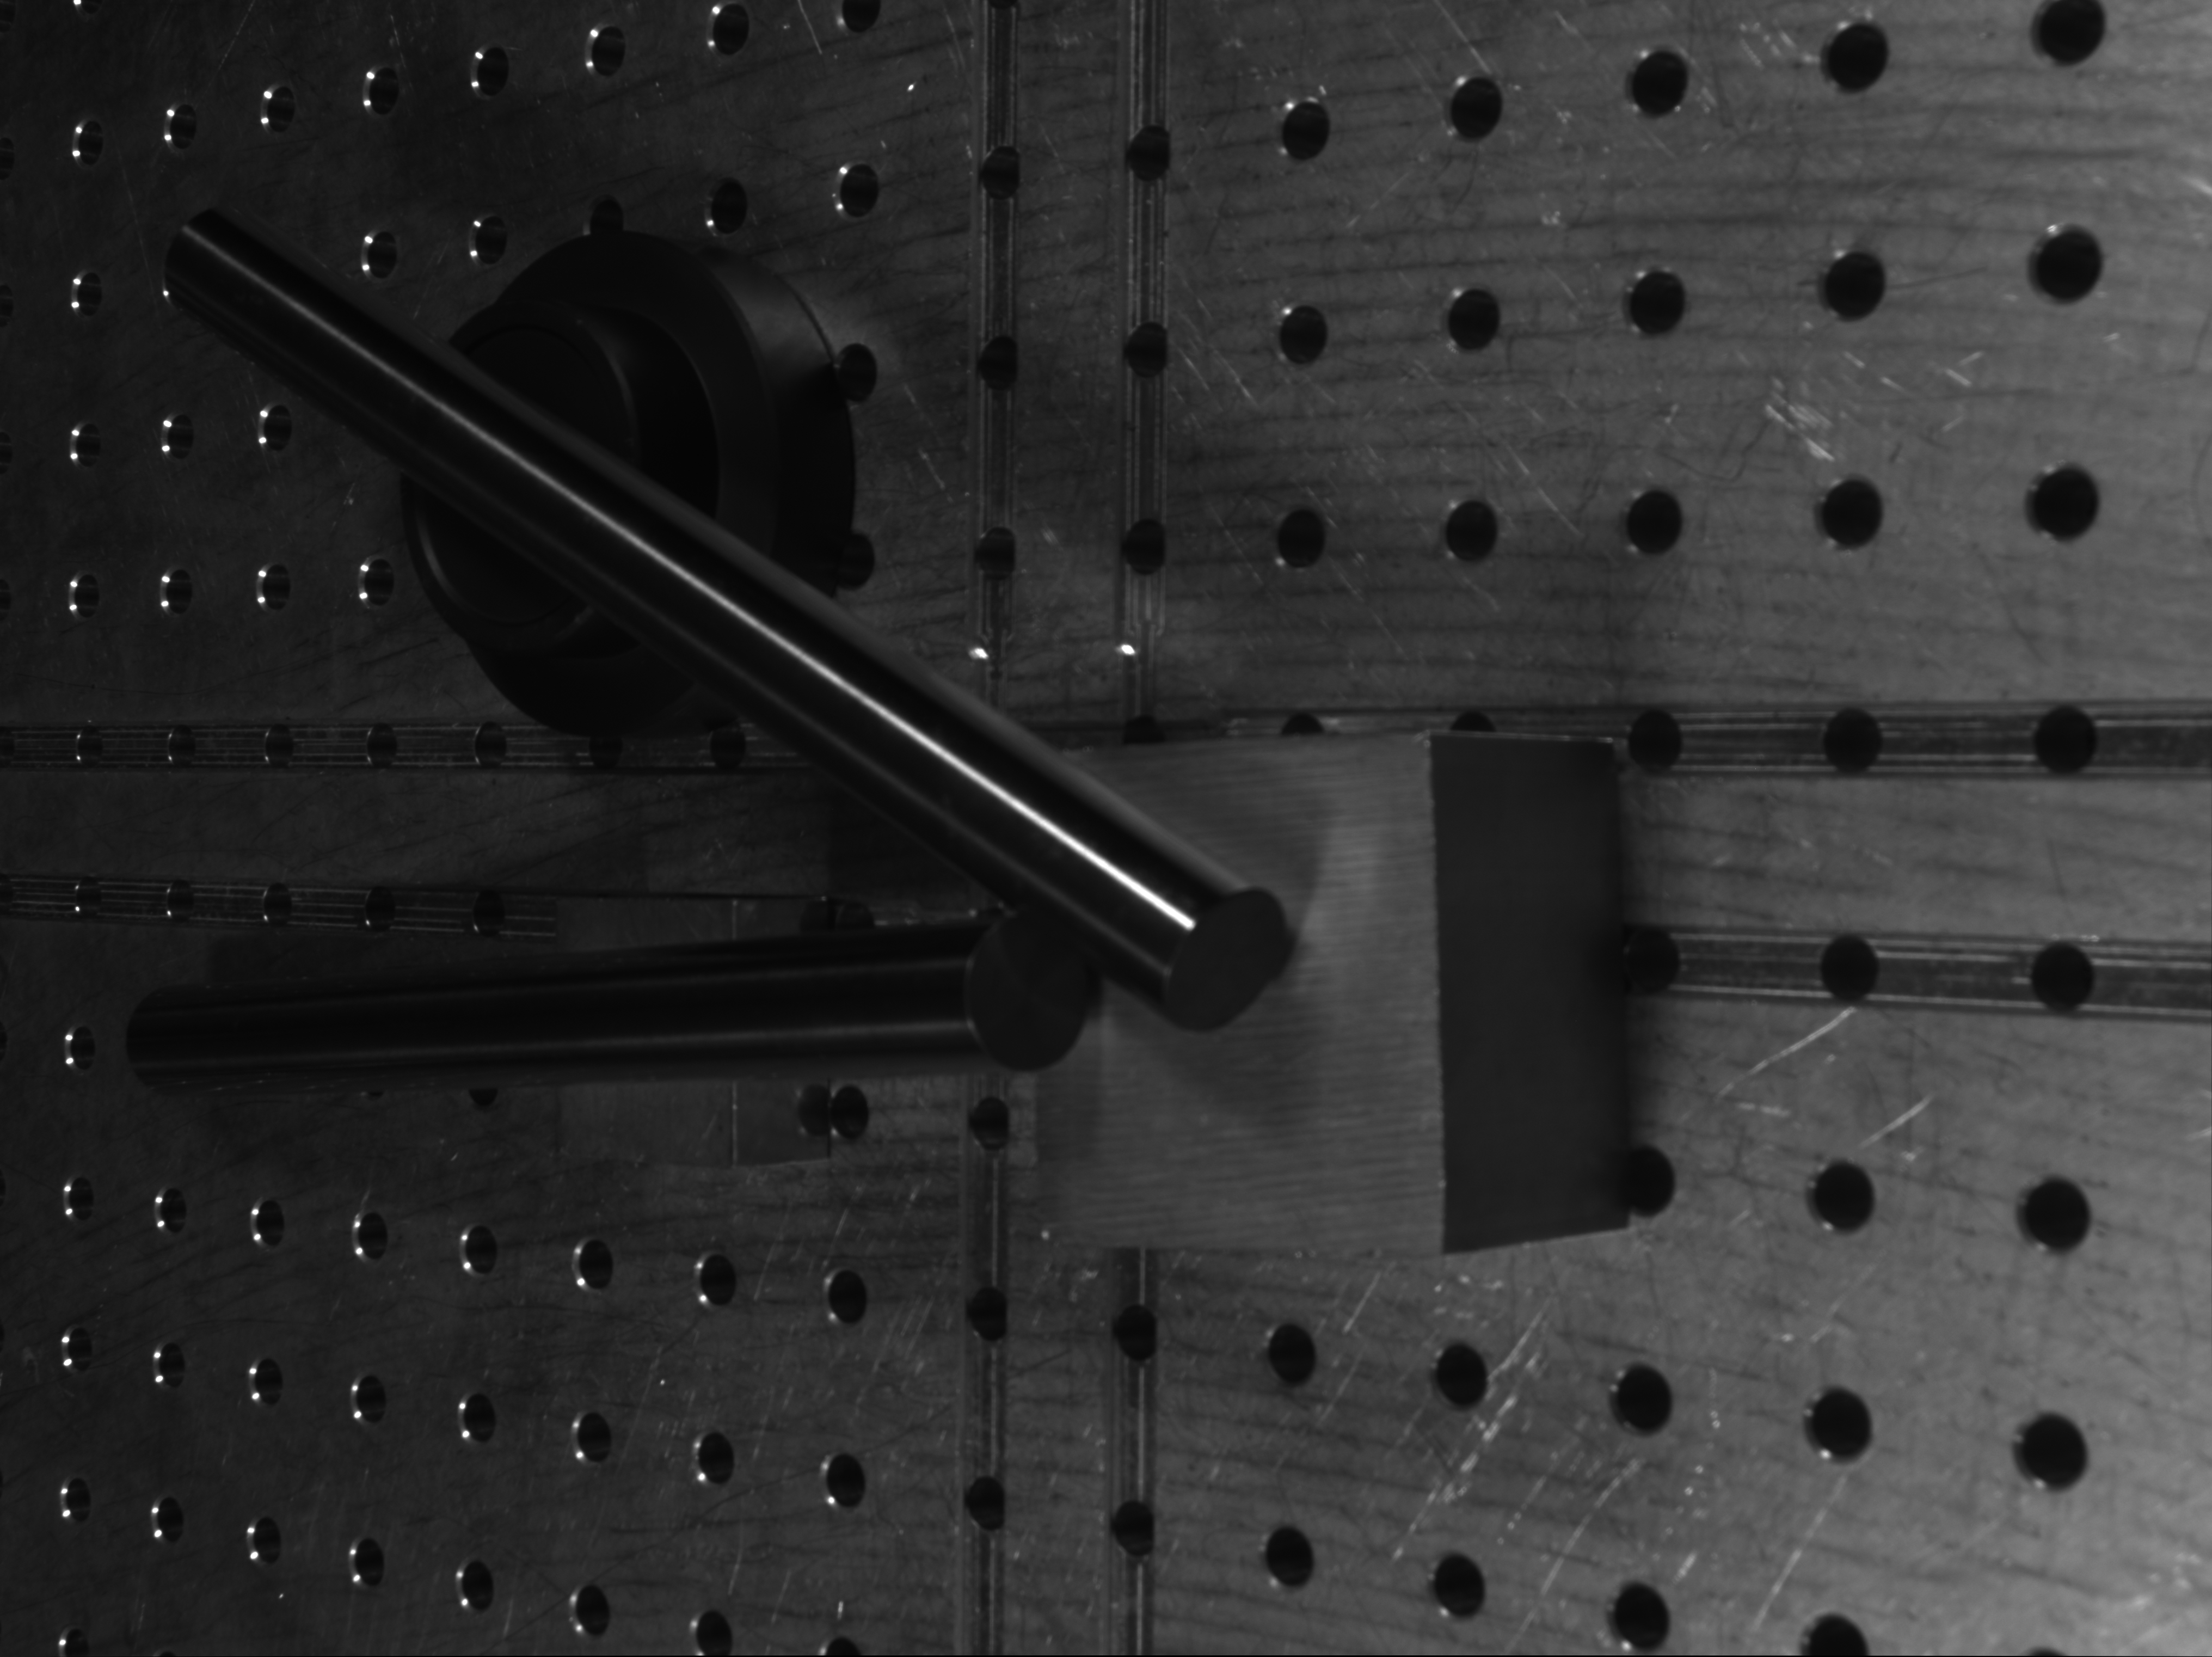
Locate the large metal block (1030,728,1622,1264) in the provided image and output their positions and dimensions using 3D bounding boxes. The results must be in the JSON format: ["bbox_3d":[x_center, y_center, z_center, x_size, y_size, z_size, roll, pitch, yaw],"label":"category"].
[{"bbox_3d":[0.035,0.026,0.591,0.080,0.050,0.080,-3,88,39],"label":"large metal block"}]

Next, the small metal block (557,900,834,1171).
[{"bbox_3d":[-0.079,0.039,0.705,0.050,0.025,0.050,-1,89,39],"label":"small metal block"}]

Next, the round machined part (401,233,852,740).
[{"bbox_3d":[-0.099,-0.066,0.709,0.098,0.042,0.098,0,90,39],"label":"round machined part"}]

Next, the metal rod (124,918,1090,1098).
[{"bbox_3d":[-0.108,0.037,0.693,0.299,0.025,0.025,-6,86,50],"label":"metal rod"}]

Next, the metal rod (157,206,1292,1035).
[{"bbox_3d":[-0.080,-0.046,0.643,0.299,0.025,0.025,34,111,37],"label":"metal rod"}]
